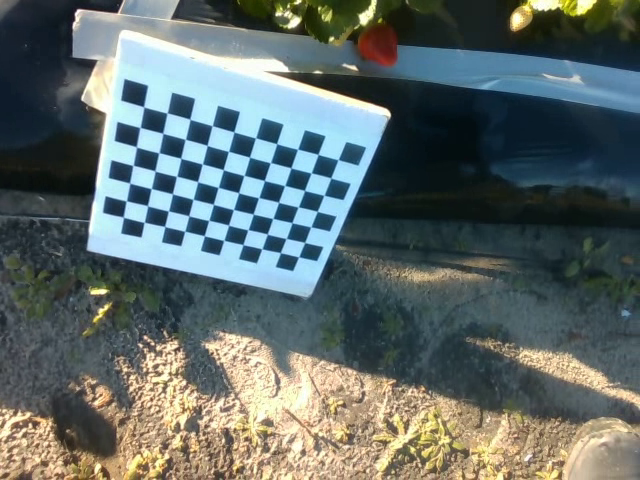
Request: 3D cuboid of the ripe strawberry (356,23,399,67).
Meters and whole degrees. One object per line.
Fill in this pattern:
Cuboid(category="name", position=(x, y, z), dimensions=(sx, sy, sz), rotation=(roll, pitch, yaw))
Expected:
Cuboid(category="ripe strawberry", position=(0.063, -0.205, 0.694), dimensions=(0.045, 0.064, 0.048), rotation=(-40, -32, 26))
